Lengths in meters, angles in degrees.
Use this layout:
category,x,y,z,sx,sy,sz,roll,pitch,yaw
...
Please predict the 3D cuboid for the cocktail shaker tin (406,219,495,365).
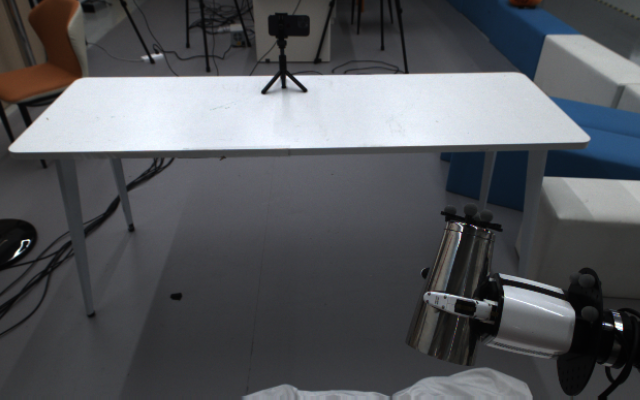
category,x,y,z,sx,sy,sz,roll,pitch,yaw
cocktail shaker tin,0.181,0.118,0.643,0.093,0.170,0.093,15,-4,1
